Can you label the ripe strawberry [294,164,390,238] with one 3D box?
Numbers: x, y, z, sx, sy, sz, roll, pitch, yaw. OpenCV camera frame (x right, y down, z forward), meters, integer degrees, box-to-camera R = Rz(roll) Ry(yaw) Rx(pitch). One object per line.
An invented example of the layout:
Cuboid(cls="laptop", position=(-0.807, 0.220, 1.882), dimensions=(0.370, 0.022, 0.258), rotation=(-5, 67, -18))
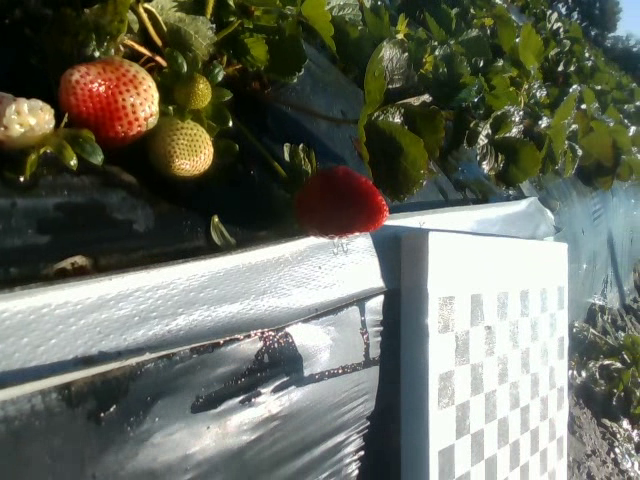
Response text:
Cuboid(cls="ripe strawberry", position=(0.009, -0.013, 0.242), dimensions=(0.045, 0.038, 0.036), rotation=(18, 12, 41))
